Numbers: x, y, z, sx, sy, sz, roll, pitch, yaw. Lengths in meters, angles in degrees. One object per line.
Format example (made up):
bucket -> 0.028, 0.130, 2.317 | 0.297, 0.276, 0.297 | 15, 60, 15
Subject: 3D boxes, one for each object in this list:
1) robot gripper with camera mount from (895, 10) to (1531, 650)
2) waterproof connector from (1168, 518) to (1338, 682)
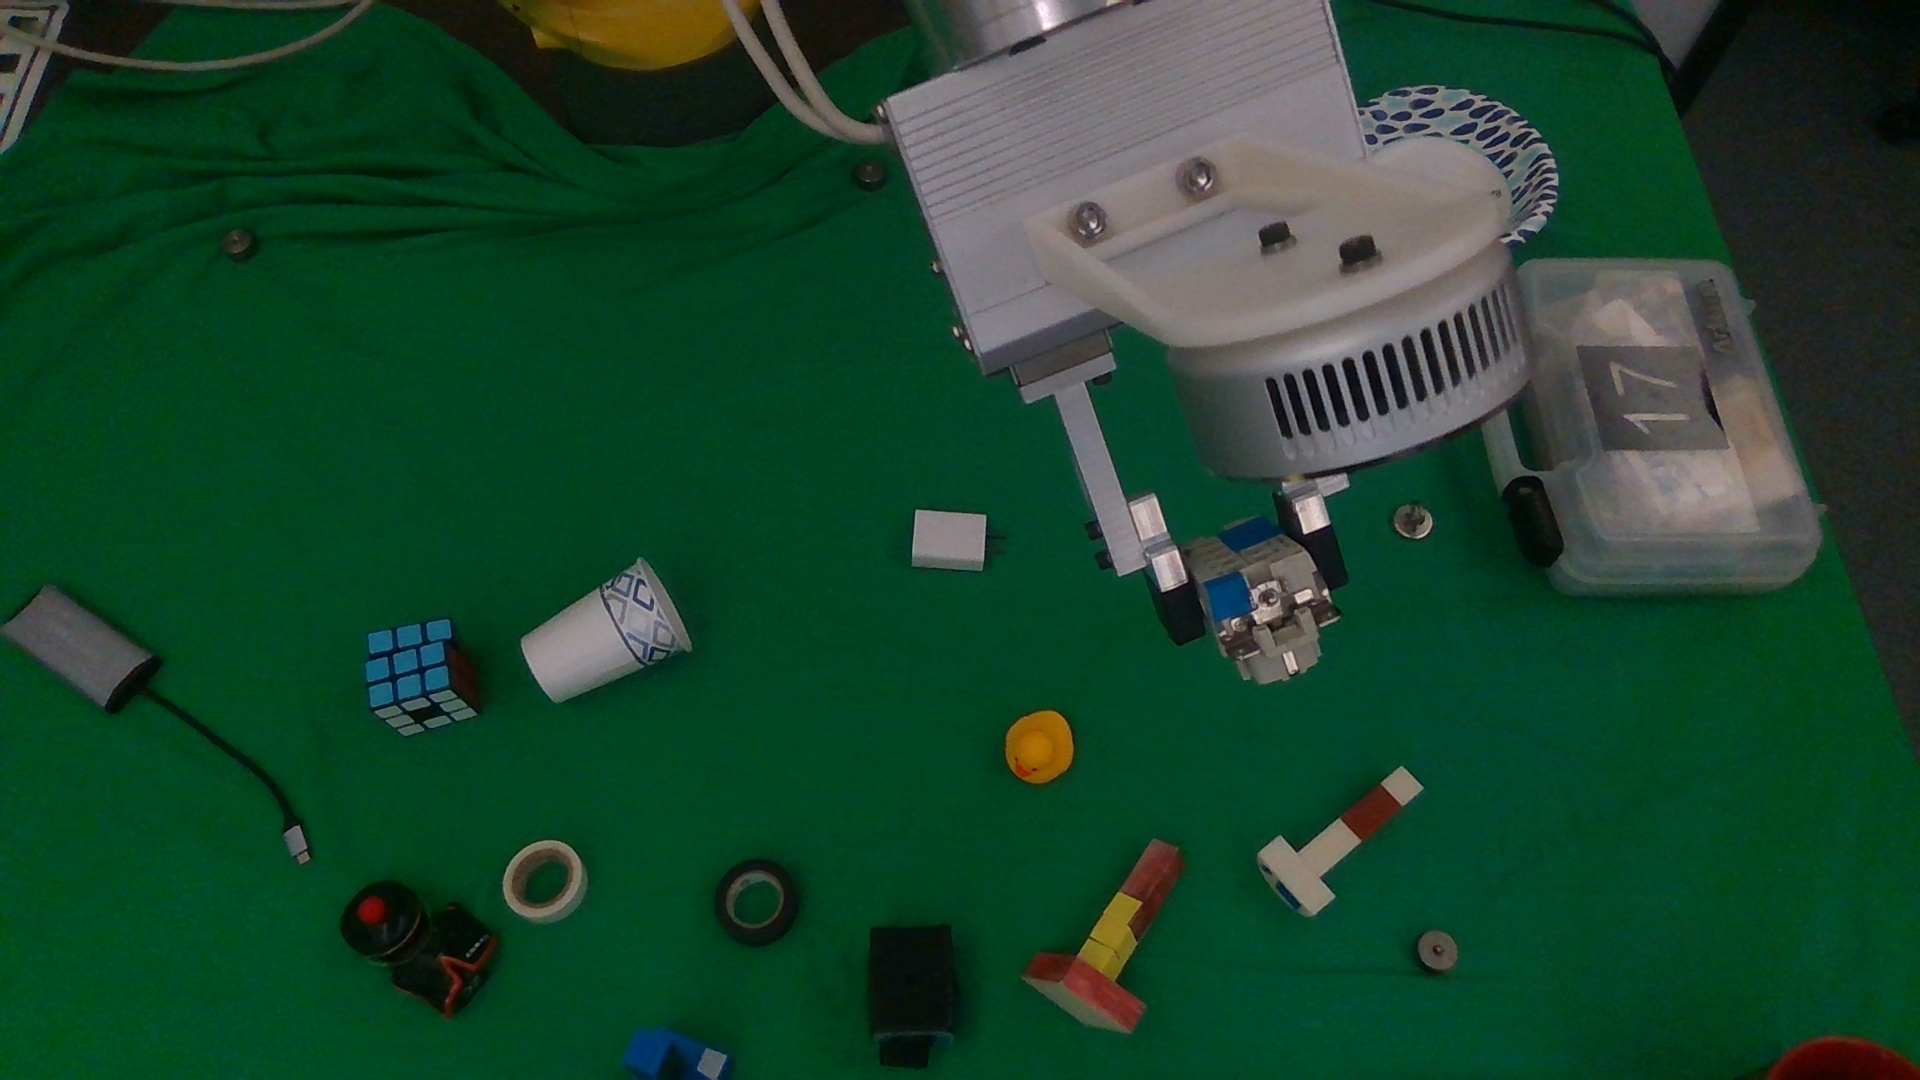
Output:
robot gripper with camera mount -> 0.073, -0.030, 0.318 | 0.119, 0.193, 0.158 | -20, 106, -1
waterproof connector -> 0.088, 0.019, 0.418 | 0.035, 0.065, 0.037 | -25, 103, -1
